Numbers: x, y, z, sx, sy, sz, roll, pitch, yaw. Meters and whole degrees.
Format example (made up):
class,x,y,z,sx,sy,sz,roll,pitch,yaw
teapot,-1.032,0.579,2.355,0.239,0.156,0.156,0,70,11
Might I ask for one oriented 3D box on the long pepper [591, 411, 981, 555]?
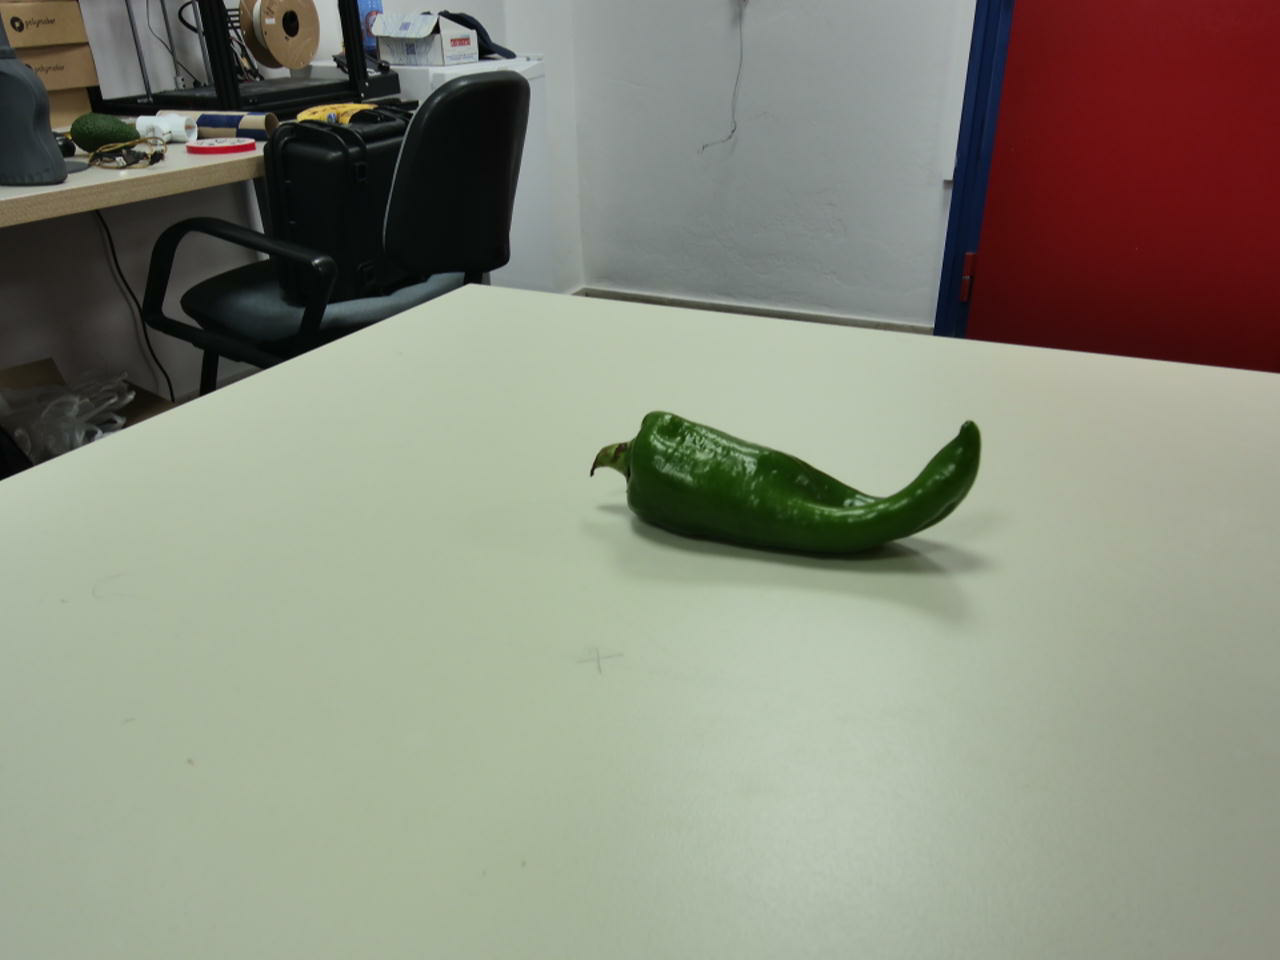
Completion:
class,x,y,z,sx,sy,sz,roll,pitch,yaw
long pepper,0.058,-0.004,0.446,0.175,0.065,0.058,10,26,22
